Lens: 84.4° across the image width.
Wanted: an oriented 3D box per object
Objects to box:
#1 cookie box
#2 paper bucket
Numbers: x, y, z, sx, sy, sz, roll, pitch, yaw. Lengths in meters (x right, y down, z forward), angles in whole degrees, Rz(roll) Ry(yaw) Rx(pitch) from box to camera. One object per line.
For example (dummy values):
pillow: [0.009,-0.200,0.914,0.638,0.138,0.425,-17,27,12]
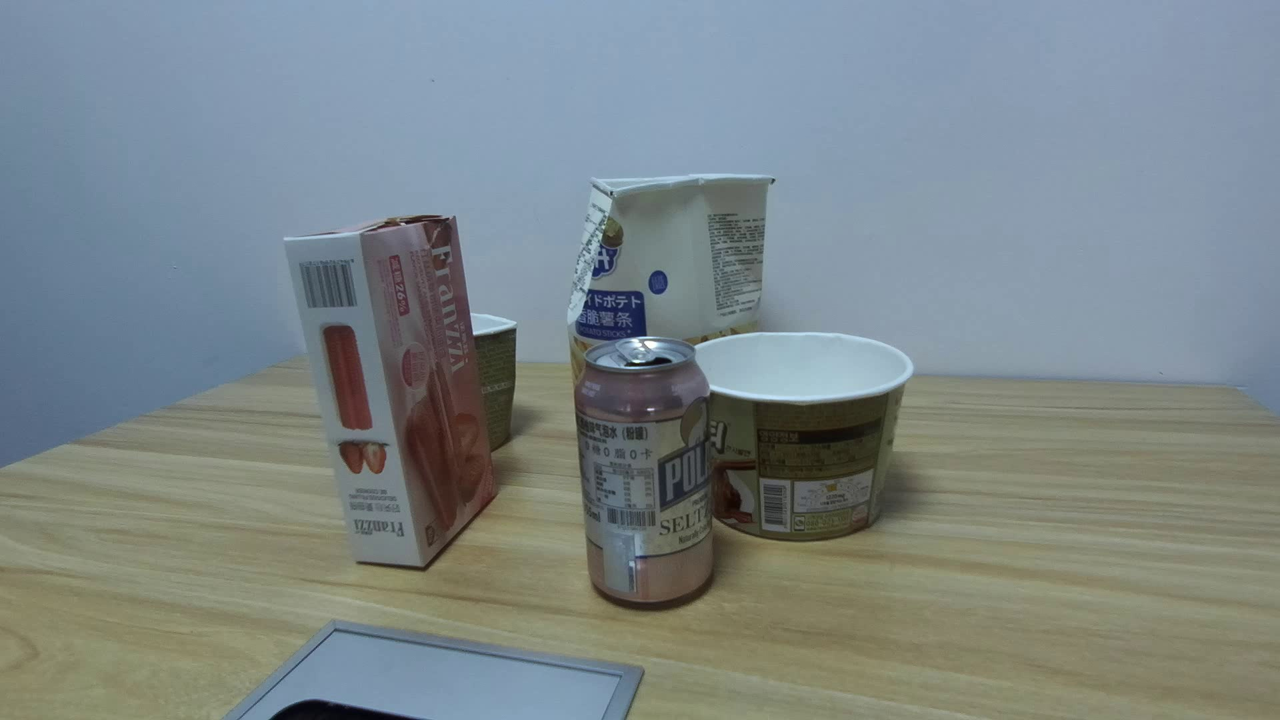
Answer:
cookie box: [-0.135,0.012,0.414,0.049,0.187,0.105,0,17,15]
paper bucket: [0.009,-0.050,0.587,0.170,0.202,0.162,-12,17,-34]
